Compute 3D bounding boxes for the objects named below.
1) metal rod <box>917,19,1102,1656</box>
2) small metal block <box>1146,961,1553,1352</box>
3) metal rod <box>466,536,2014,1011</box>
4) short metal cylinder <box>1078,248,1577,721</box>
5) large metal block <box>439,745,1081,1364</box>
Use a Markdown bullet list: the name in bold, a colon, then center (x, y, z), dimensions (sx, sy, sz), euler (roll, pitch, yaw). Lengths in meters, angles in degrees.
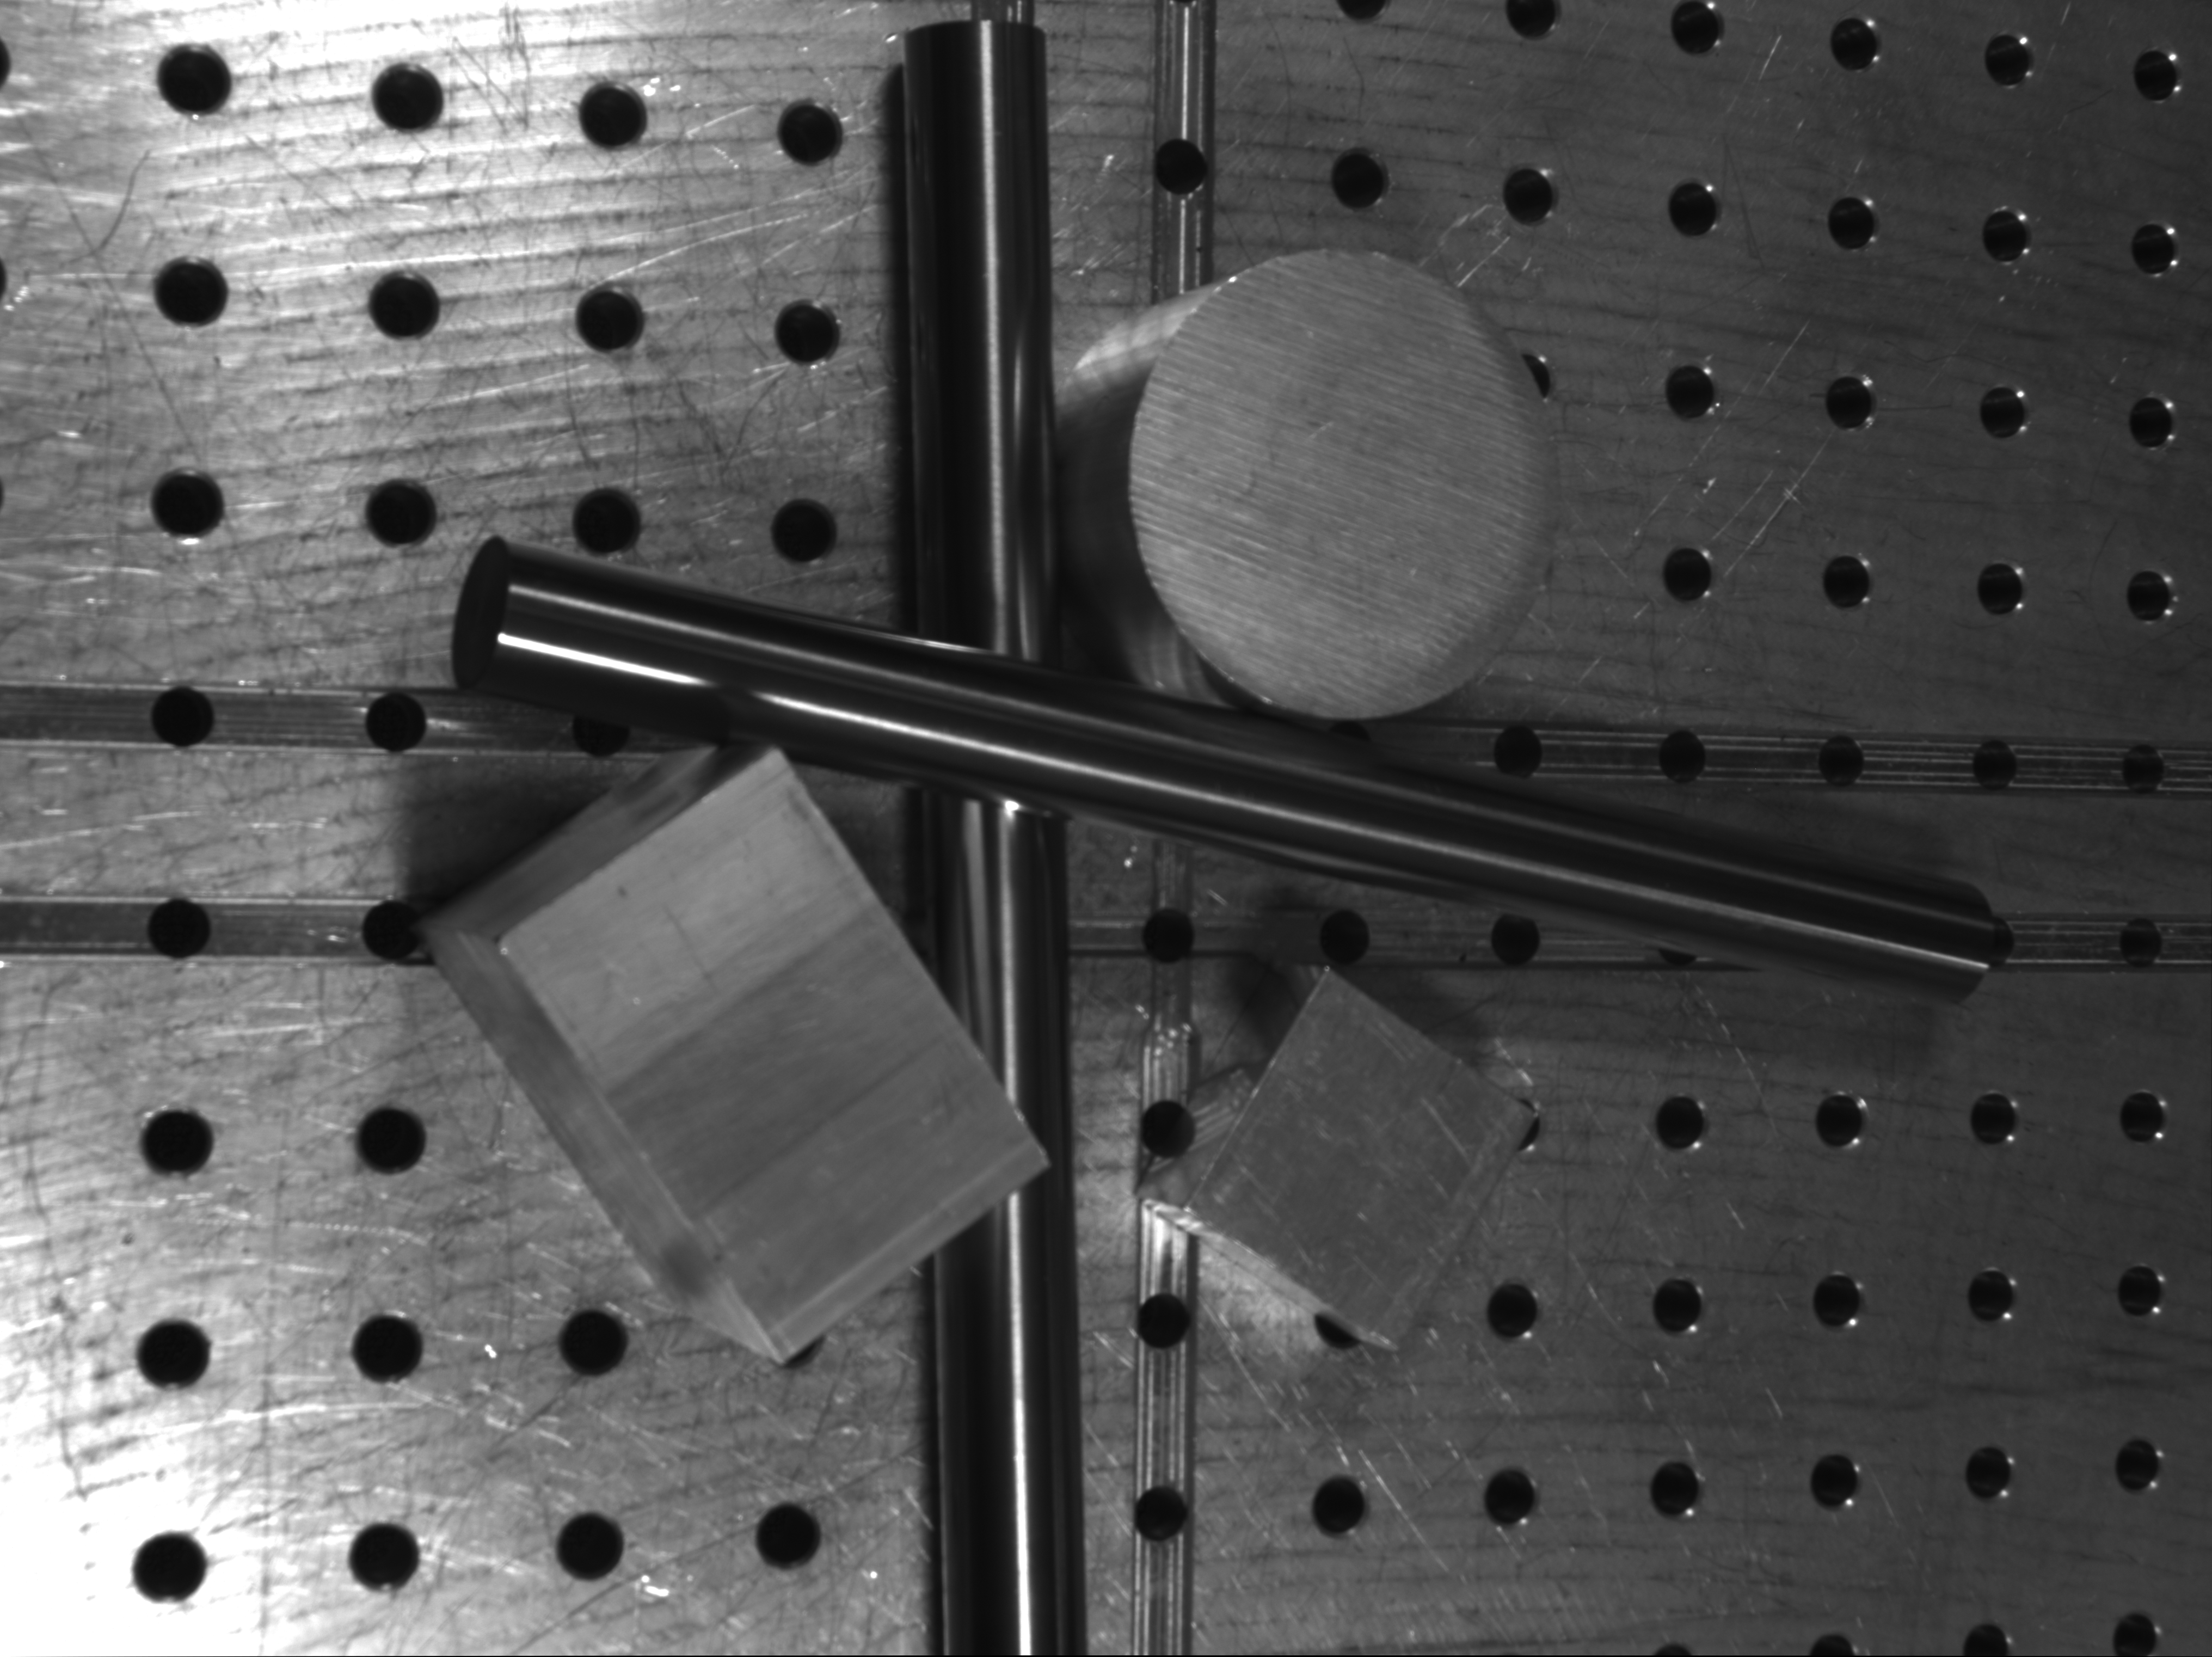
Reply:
- **metal rod**: center (-0.017, 0.011, 0.640), dimensions (0.025, 0.025, 0.300), euler (-2, 91, -20)
- **small metal block**: center (0.044, 0.059, 0.663), dimensions (0.050, 0.025, 0.050), euler (35, 79, -16)
- **metal rod**: center (0.036, -0.005, 0.639), dimensions (0.301, 0.025, 0.025), euler (12, 86, -27)
- **short metal cylinder**: center (0.036, -0.059, 0.645), dimensions (0.080, 0.050, 0.080), euler (0, 90, -20)
- **large metal block**: center (-0.058, 0.035, 0.594), dimensions (0.050, 0.080, 0.080), euler (-36, 102, -16)
